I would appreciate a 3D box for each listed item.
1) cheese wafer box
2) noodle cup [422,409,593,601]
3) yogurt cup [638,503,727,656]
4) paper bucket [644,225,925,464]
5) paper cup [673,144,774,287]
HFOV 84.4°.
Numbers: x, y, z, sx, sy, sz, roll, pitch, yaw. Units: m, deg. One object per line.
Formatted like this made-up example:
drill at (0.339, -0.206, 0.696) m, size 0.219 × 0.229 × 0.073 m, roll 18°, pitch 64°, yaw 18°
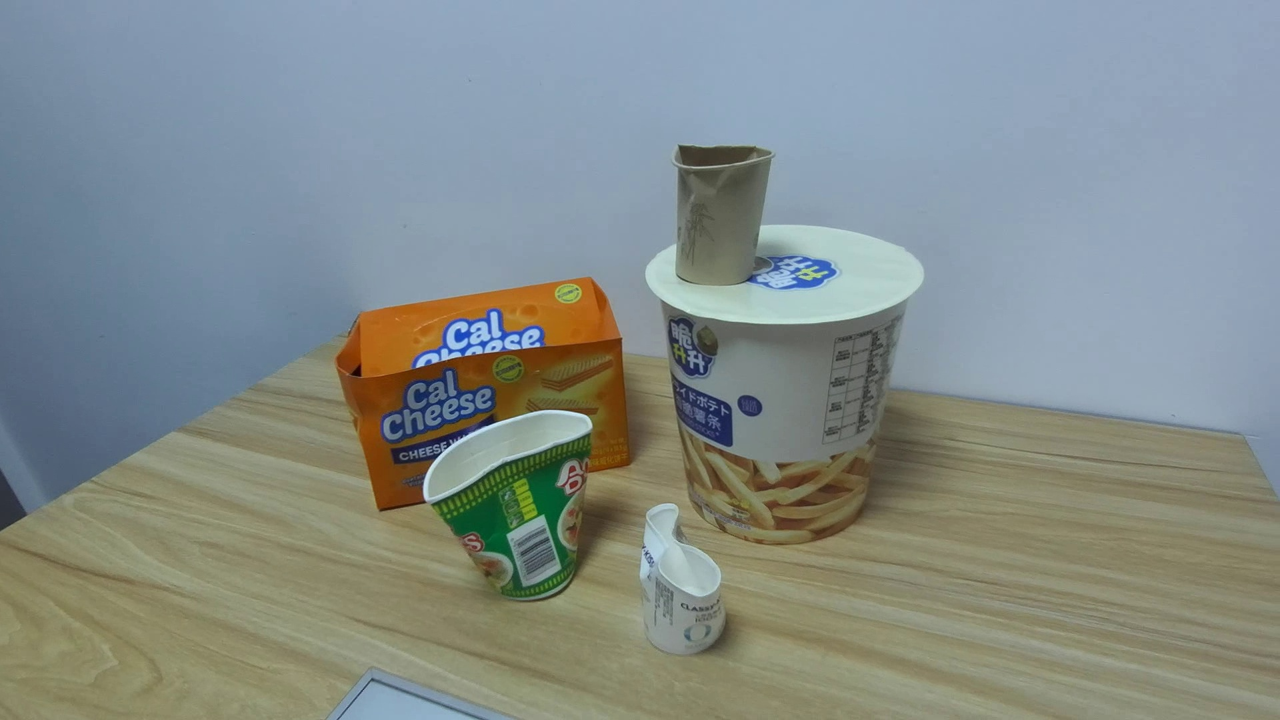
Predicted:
cheese wafer box at (-0.134, 0.026, 0.635) m, size 0.231 × 0.132 × 0.152 m, roll -9°, pitch 29°, yaw -9°
noodle cup at (-0.081, 0.104, 0.493) m, size 0.115 × 0.111 × 0.070 m, roll -10°, pitch 31°, yaw -13°
yogurt cup at (0.028, 0.142, 0.448) m, size 0.054 × 0.071 × 0.075 m, roll -27°, pitch 36°, yaw -36°
paper bucket at (0.104, 0.018, 0.539) m, size 0.198 × 0.195 × 0.198 m, roll -3°, pitch 29°, yaw 2°
paper cup at (0.054, -0.097, 0.472) m, size 0.072 × 0.084 × 0.066 m, roll -4°, pitch 28°, yaw -7°
